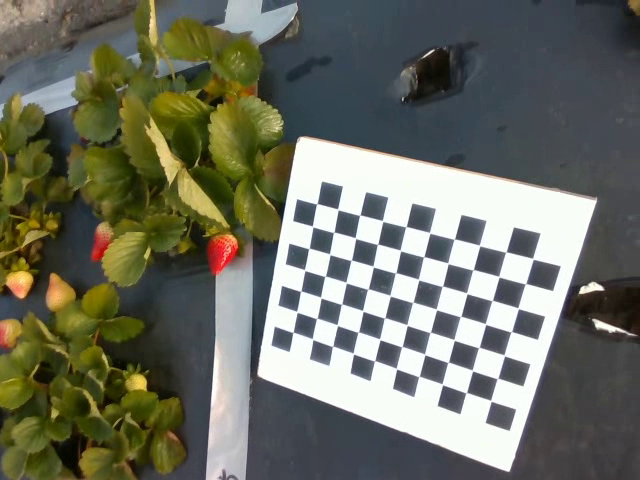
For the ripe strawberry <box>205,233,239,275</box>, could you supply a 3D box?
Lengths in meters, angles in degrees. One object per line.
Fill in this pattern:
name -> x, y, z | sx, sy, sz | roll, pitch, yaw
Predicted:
ripe strawberry -> -0.104, 0.016, 0.637 | 0.050, 0.055, 0.035 | 8, -7, 15
